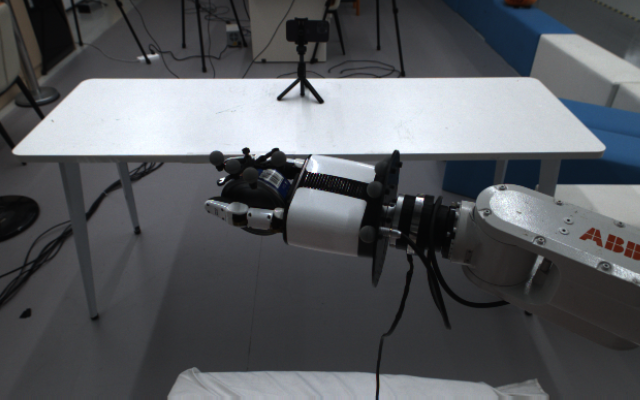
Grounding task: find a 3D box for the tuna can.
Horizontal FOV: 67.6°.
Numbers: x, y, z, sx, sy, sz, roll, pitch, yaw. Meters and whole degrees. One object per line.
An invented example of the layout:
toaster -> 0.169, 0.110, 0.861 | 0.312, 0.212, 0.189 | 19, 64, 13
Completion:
tuna can -> -0.071, -0.001, 0.586 | 0.085, 0.085, 0.034 | 11, 39, 13
